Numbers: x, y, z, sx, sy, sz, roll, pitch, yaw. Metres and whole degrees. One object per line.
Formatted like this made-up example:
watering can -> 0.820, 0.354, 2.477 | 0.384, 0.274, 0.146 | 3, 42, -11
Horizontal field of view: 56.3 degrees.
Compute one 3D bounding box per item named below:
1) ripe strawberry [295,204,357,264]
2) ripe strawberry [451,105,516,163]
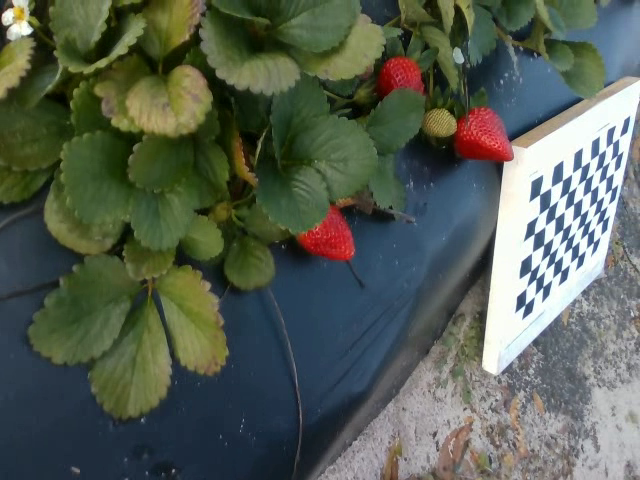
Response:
ripe strawberry -> 0.003, 0.000, 0.176 | 0.018, 0.021, 0.016 | -47, 6, -22
ripe strawberry -> 0.064, -0.036, 0.222 | 0.022, 0.030, 0.025 | -25, -42, -7
